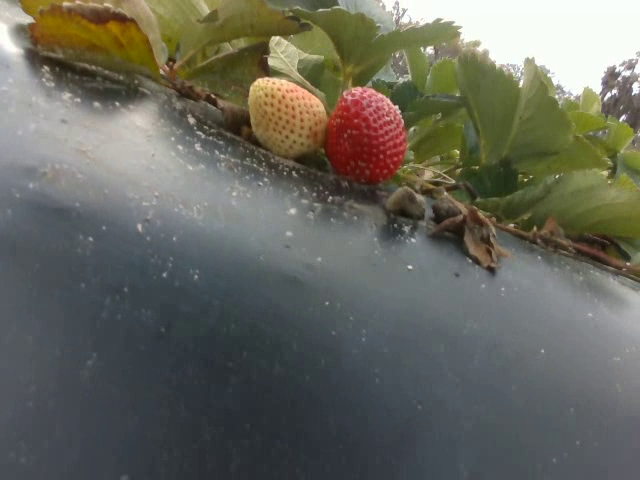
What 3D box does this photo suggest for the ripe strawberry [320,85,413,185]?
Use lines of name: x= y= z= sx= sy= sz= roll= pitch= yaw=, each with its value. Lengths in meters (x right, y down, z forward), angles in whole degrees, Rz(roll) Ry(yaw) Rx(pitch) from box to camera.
ripe strawberry: x=0.015 y=-0.039 z=0.205 sx=0.033 sy=0.034 sz=0.041 roll=-38 pitch=-28 yaw=-5
